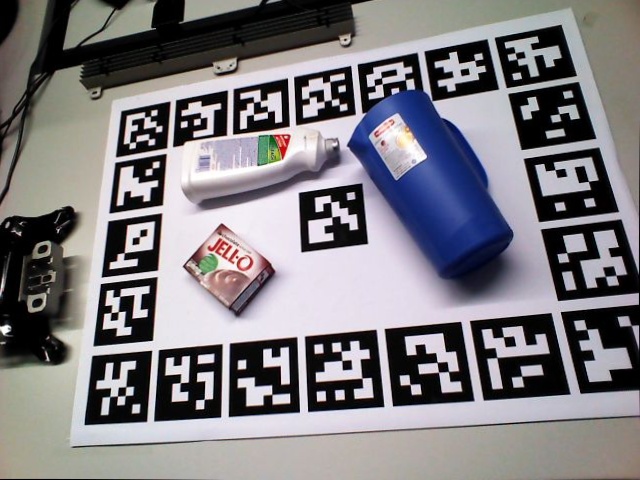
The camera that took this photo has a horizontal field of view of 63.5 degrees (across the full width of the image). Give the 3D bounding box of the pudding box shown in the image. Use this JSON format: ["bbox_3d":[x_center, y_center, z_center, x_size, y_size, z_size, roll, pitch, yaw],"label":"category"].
[{"bbox_3d":[-0.138,0.048,0.765,0.114,0.039,0.090,39,77,22],"label":"pudding box"}]

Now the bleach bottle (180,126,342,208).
[{"bbox_3d":[-0.090,-0.123,0.812,0.252,0.068,0.102,-10,72,8],"label":"bleach bottle"}]

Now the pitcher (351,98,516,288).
[{"bbox_3d":[0.166,-0.064,0.707,0.188,0.134,0.242,-17,67,-31],"label":"pitcher"}]
